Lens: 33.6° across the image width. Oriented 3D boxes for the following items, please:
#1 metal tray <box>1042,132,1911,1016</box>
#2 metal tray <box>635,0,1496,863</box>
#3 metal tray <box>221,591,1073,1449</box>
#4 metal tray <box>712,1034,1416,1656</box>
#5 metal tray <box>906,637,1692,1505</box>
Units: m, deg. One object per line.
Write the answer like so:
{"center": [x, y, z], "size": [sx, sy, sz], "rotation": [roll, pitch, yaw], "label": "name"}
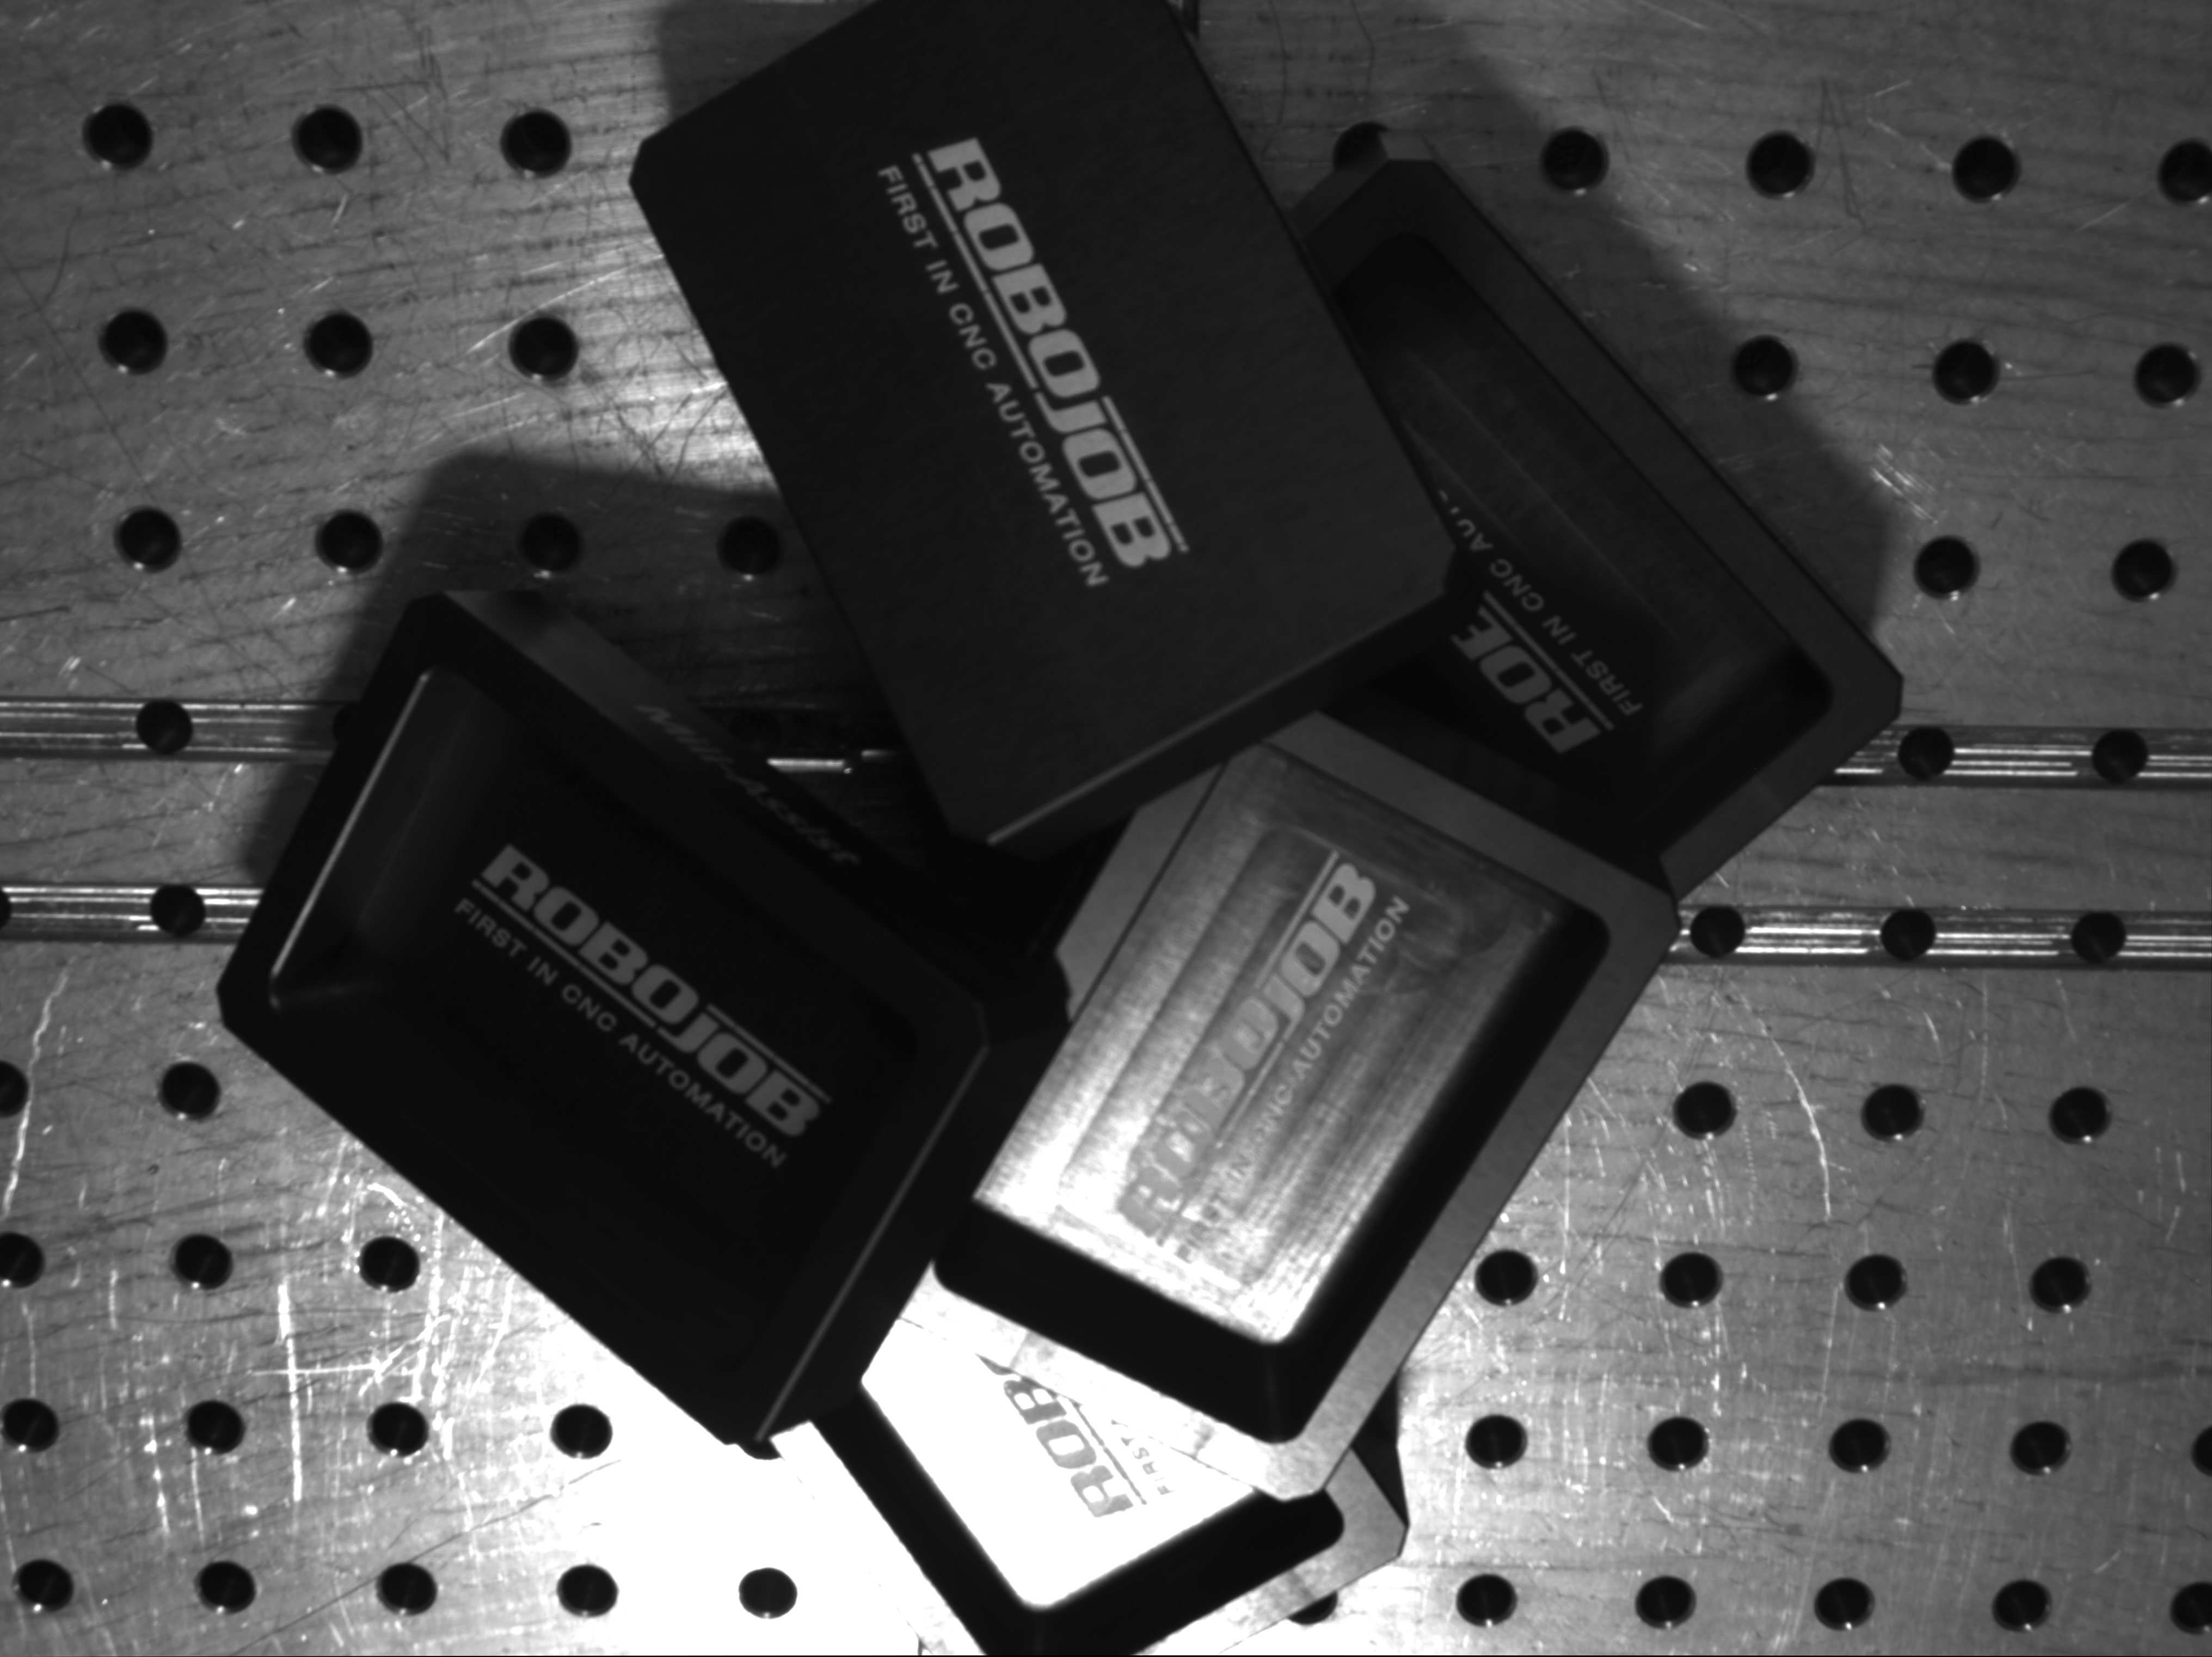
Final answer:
{"center": [0.062, -0.042, 0.628], "size": [0.090, 0.030, 0.130], "rotation": [-42, 105, 13], "label": "metal tray"}
{"center": [-0.007, -0.072, 0.584], "size": [0.090, 0.030, 0.130], "rotation": [-29, 78, 9], "label": "metal tray"}
{"center": [-0.080, 0.030, 0.620], "size": [0.130, 0.030, 0.090], "rotation": [36, 108, 19], "label": "metal tray"}
{"center": [-0.013, 0.099, 0.678], "size": [0.090, 0.030, 0.130], "rotation": [-31, 107, 10], "label": "metal tray"}
{"center": [0.028, 0.042, 0.626], "size": [0.090, 0.030, 0.130], "rotation": [27, 107, -10], "label": "metal tray"}
